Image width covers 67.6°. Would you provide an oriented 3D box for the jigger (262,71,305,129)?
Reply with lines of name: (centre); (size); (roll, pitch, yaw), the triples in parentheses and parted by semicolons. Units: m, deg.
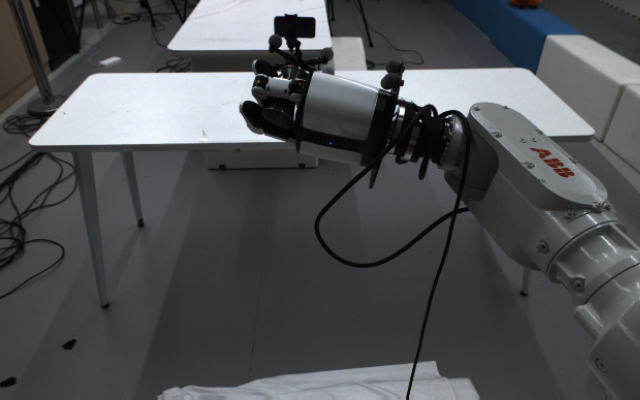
jigger: (-0.039, -0.131, 0.618); (0.043, 0.043, 0.071); (12, 71, 14)
